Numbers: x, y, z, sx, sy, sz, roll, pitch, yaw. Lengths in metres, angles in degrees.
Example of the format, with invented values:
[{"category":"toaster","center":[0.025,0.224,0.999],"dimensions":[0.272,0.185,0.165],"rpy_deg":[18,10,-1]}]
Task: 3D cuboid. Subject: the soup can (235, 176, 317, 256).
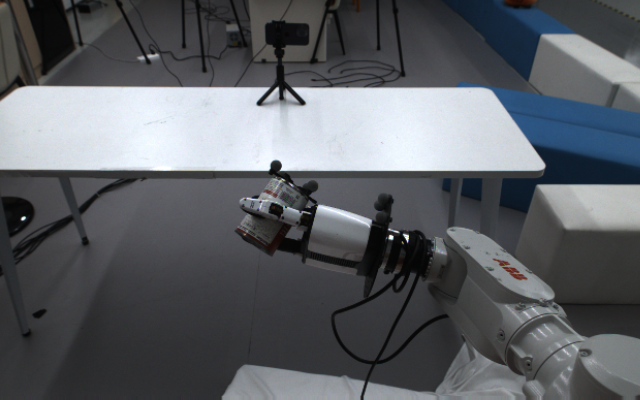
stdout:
[{"category":"soup can","center":[-0.071,0.025,0.727],"dimensions":[0.067,0.067,0.101],"rpy_deg":[26,76,31]}]
